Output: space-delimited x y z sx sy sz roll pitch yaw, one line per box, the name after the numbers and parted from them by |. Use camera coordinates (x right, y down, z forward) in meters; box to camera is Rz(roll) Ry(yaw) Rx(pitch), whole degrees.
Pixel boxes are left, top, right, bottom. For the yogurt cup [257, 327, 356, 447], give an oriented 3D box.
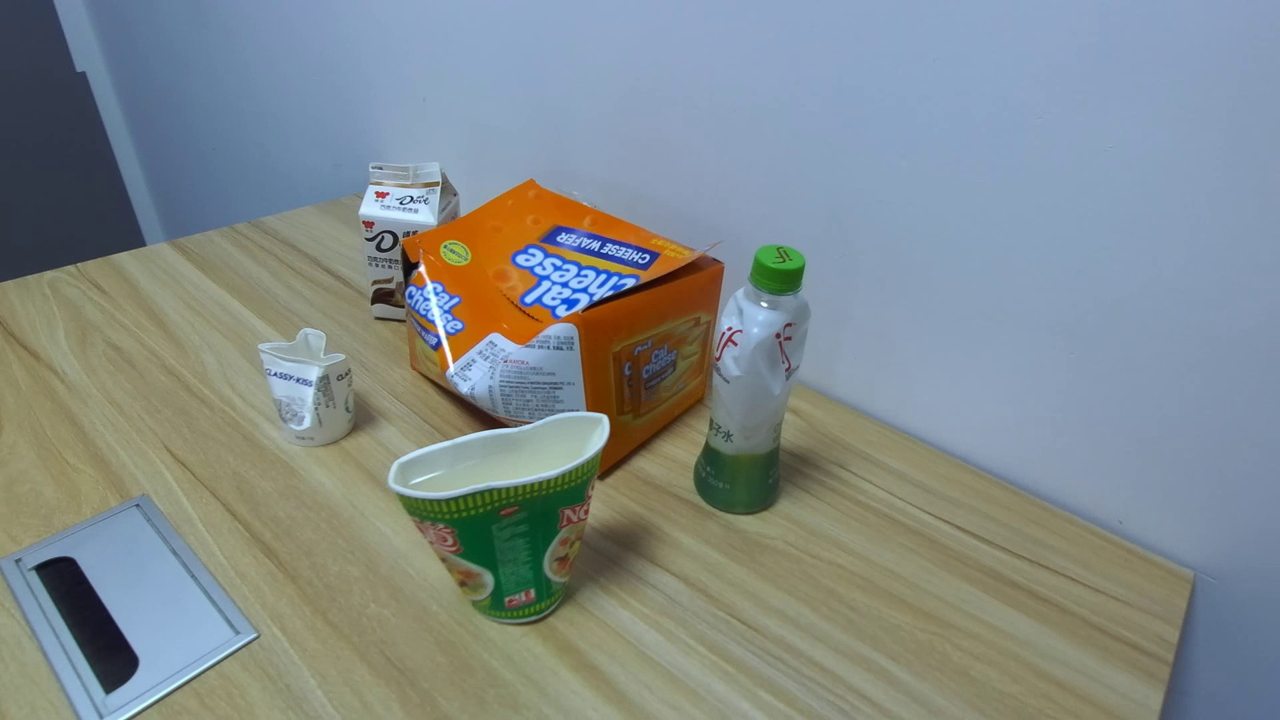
-0.245 0.021 0.532 0.055 0.072 0.054 -25 45 -38 | yogurt cup

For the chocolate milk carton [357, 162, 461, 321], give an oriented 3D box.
-0.216 -0.120 0.677 0.075 0.148 0.074 8 37 1 | chocolate milk carton

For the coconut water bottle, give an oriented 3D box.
0.077 0.015 0.469 0.067 0.187 0.067 3 34 -2 | coconut water bottle

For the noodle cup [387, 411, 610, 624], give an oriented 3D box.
-0.075 0.093 0.413 0.115 0.111 0.070 0 34 -5 | noodle cup

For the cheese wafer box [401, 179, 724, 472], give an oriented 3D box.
-0.075 -0.035 0.570 0.218 0.145 0.192 26 40 29 | cheese wafer box
